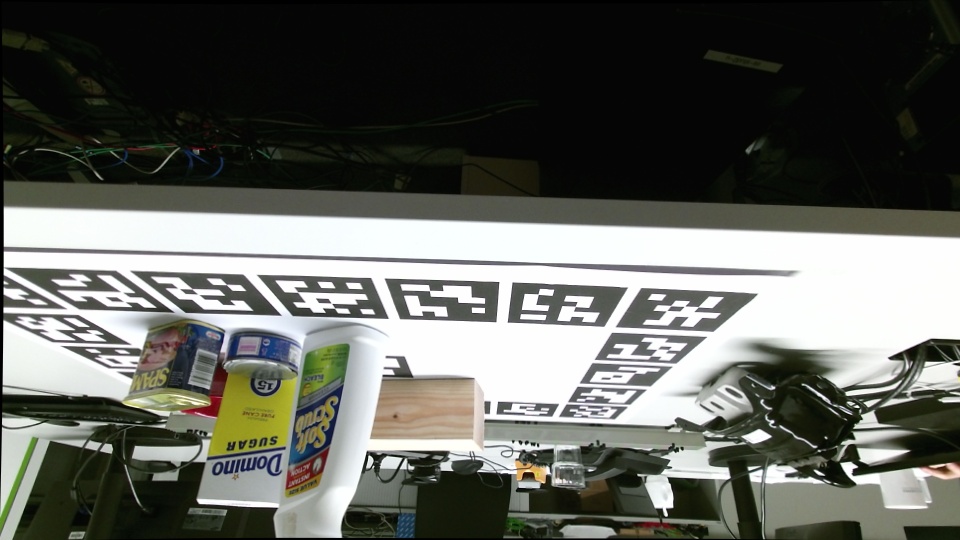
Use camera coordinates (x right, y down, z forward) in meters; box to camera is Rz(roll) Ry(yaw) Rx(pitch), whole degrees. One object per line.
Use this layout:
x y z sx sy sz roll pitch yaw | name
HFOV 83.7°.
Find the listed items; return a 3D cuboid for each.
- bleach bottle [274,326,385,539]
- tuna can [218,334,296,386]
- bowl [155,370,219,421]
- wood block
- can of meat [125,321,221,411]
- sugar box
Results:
-0.164 0.190 0.567 0.103 0.249 0.068 -13 149 23 | bleach bottle
-0.262 0.109 0.640 0.086 0.033 0.086 1 148 0 | tuna can
-0.364 0.183 0.764 0.162 0.055 0.162 -2 152 -1 | bowl
-0.104 0.222 0.793 0.207 0.089 0.091 -3 147 10 | wood block
-0.348 0.110 0.610 0.102 0.083 0.058 -14 151 28 | can of meat
-0.286 0.199 0.660 0.093 0.175 0.045 9 149 -20 | sugar box
